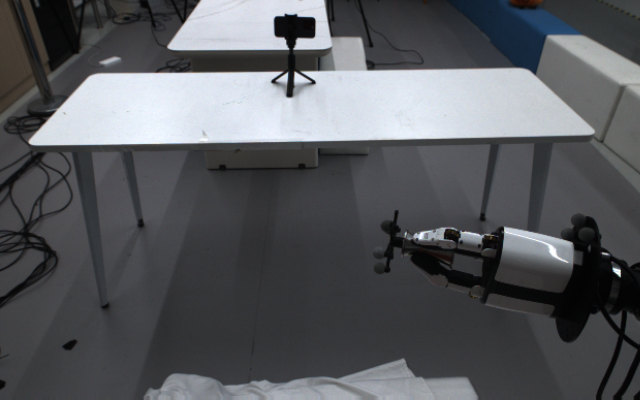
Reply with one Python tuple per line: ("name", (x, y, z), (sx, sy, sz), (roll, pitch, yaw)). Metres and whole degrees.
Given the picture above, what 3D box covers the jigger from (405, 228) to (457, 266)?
("jigger", (0.155, 0.060, 0.658), (0.071, 0.043, 0.043), (9, 35, 15))
